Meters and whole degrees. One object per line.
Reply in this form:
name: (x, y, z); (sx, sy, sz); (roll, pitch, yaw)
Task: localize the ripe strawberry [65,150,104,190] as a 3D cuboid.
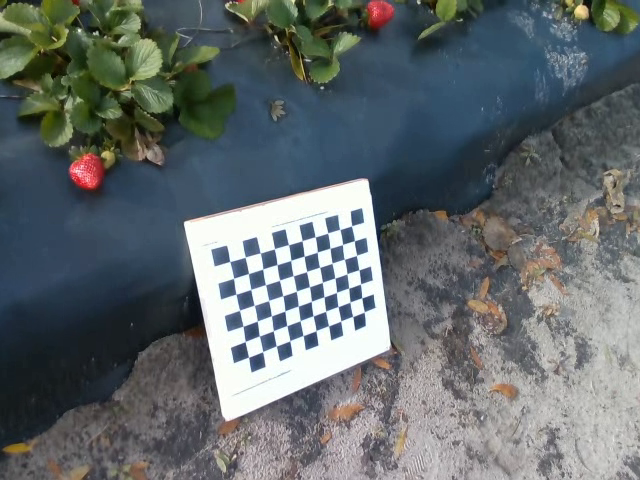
ripe strawberry: (-0.283, -0.081, 0.700); (0.045, 0.058, 0.051); (-13, -37, -32)
